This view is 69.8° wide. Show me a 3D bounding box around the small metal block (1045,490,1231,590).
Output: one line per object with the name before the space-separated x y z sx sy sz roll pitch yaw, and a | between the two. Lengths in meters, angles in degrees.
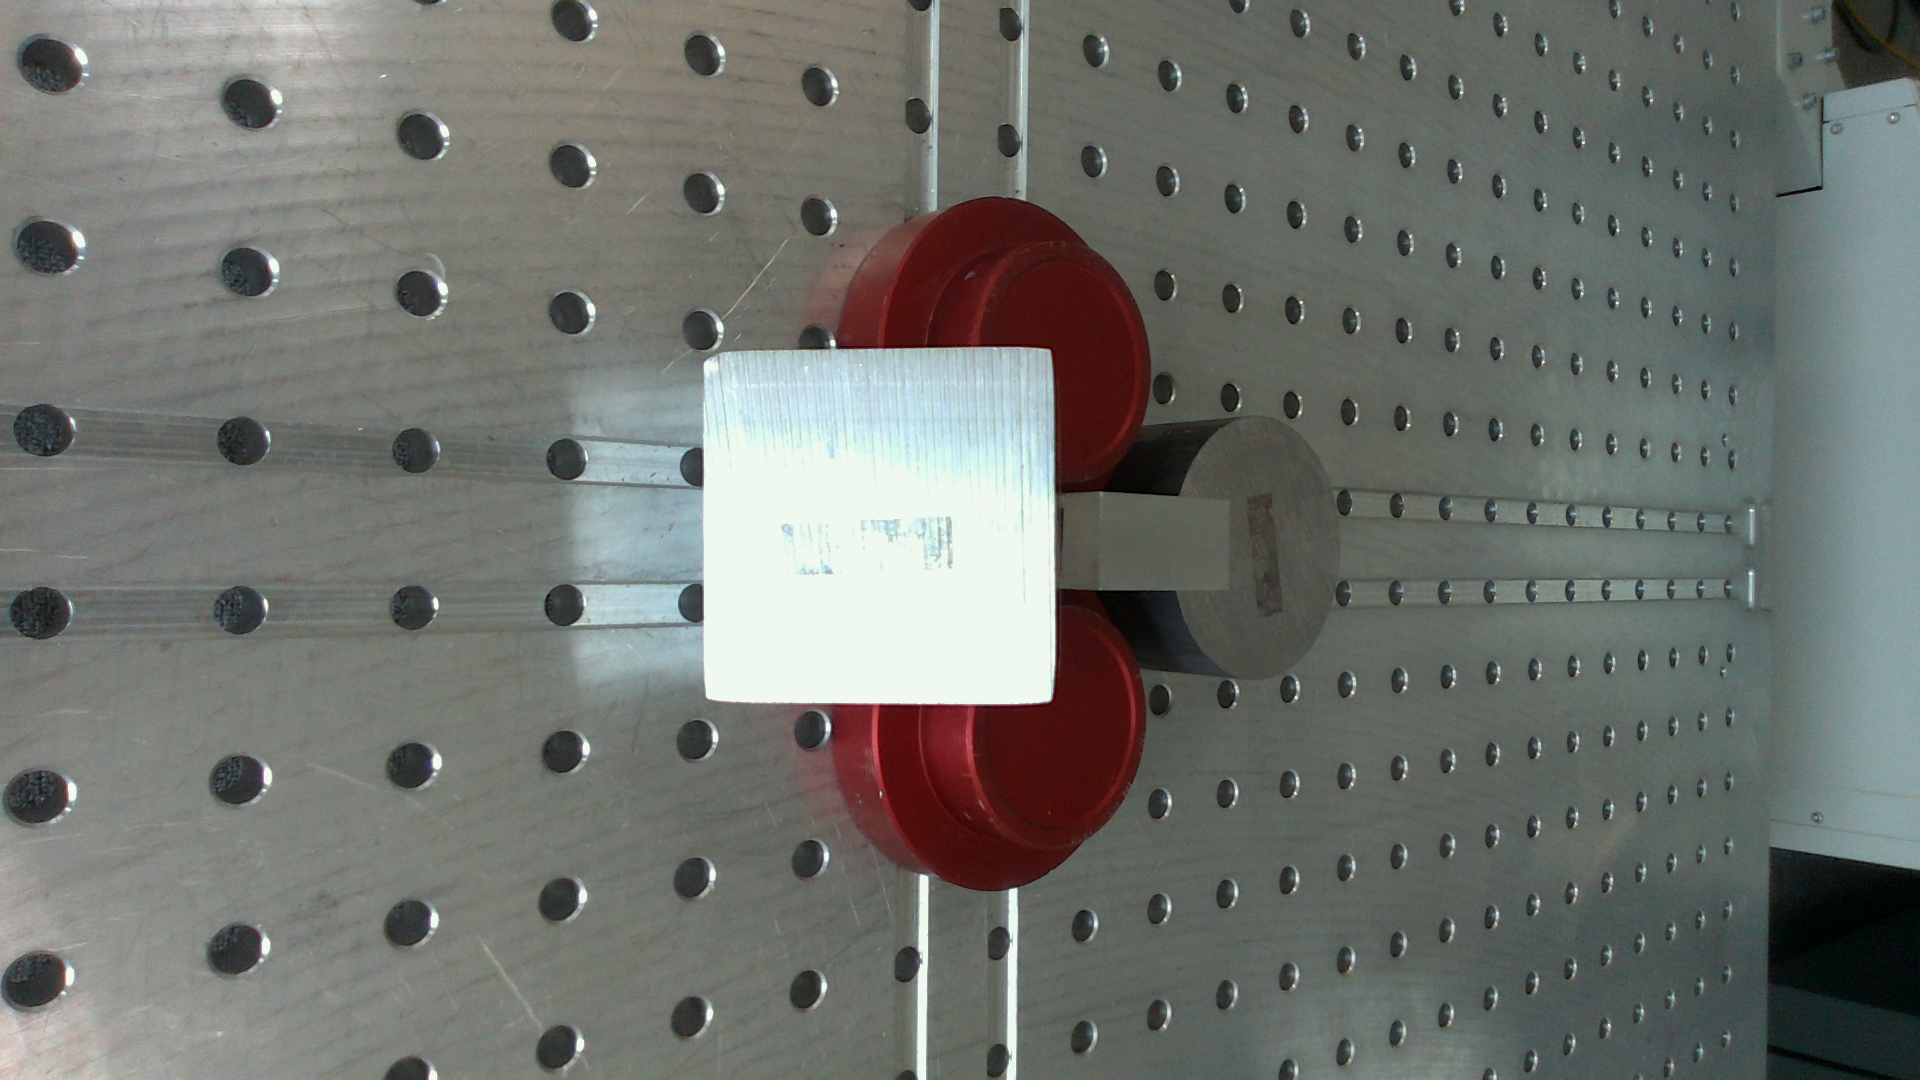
small metal block | 0.039 0.000 0.379 0.050 0.050 0.025 2 89 -40

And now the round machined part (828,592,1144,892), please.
round machined part | 0.014 0.051 0.393 0.098 0.042 0.098 0 90 -40

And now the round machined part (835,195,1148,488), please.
round machined part | 0.016 -0.049 0.394 0.098 0.042 0.098 0 90 -40

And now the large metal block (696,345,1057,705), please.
large metal block | -0.017 -0.003 0.334 0.050 0.080 0.080 -4 94 -84

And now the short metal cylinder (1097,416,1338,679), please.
short metal cylinder | 0.075 0.002 0.437 0.080 0.050 0.080 0 90 -40
